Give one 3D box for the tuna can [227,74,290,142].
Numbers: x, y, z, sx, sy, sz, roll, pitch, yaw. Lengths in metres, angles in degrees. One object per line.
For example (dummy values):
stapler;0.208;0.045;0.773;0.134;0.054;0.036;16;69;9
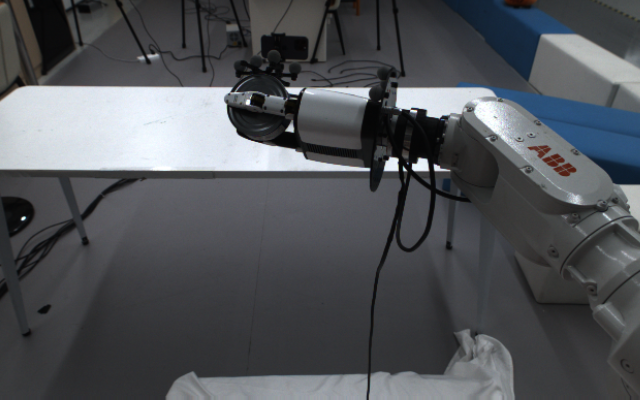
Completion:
tuna can;-0.081;-0.126;0.658;0.085;0.085;0.034;11;-6;13
